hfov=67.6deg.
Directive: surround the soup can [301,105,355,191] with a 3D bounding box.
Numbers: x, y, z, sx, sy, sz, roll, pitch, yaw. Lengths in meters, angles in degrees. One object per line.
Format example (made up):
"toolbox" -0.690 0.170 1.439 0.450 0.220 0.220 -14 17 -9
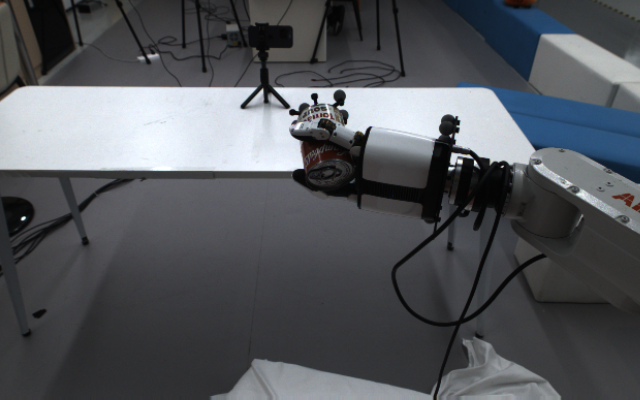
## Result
"soup can" 0.008 -0.072 0.660 0.067 0.067 0.101 -5 57 -10
